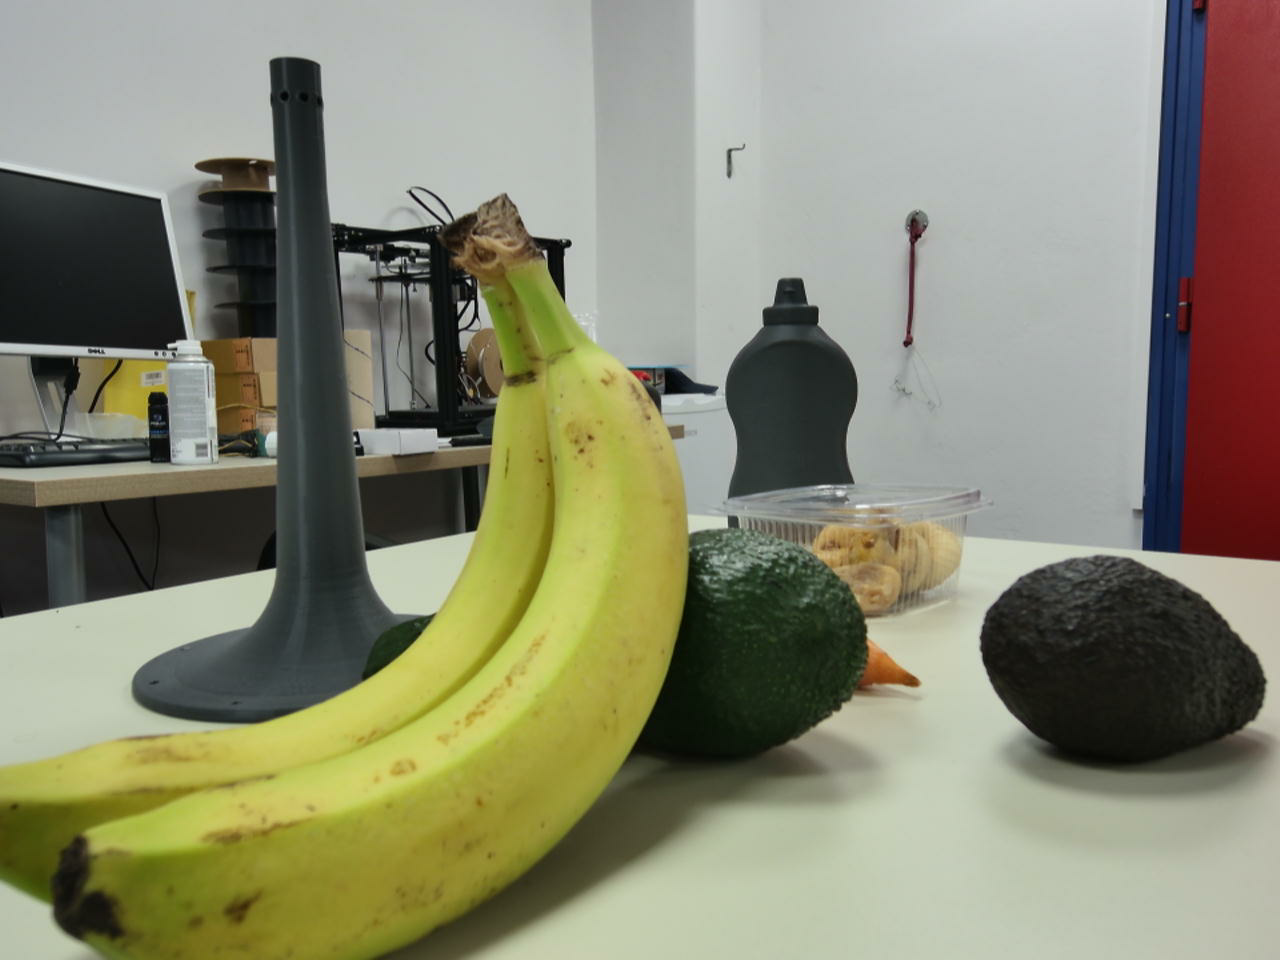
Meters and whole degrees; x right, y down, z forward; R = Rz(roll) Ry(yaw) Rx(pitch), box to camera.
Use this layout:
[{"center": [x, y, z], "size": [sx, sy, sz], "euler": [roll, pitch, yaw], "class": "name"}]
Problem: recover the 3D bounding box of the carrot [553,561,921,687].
[{"center": [0.038, 0.065, 0.471], "size": [0.196, 0.041, 0.039], "euler": [3, 5, 37], "class": "carrot"}]
